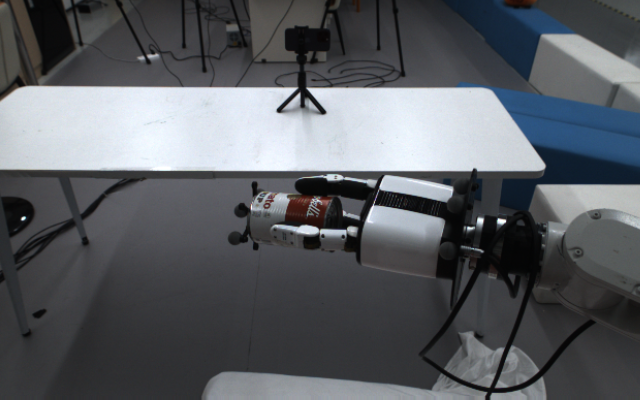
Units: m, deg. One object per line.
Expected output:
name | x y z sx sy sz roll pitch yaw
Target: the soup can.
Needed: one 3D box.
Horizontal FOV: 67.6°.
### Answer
soup can | -0.027 0.026 0.597 0.101 0.067 0.067 5 34 18
